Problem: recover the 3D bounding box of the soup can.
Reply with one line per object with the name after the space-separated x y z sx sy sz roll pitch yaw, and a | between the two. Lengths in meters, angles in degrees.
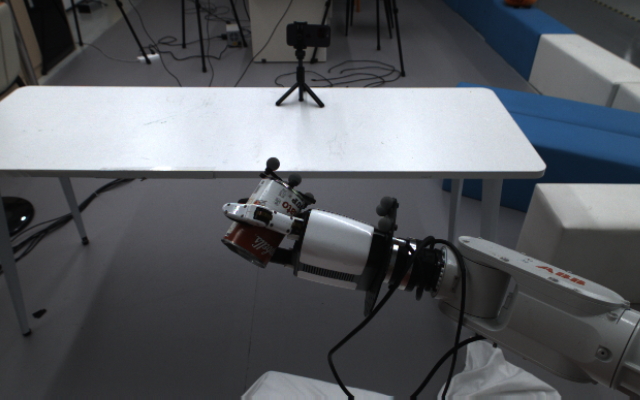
-0.072 0.029 0.632 0.067 0.067 0.101 23 72 28 | soup can
